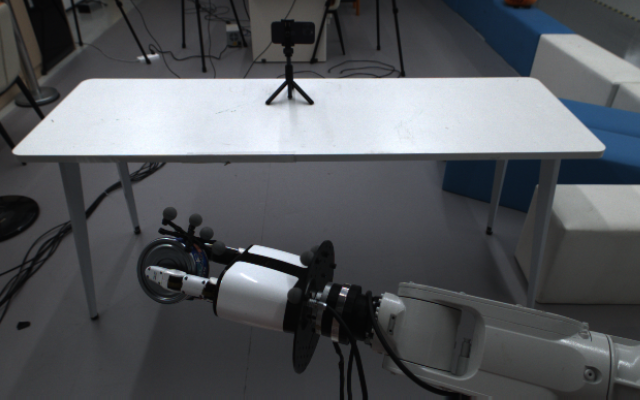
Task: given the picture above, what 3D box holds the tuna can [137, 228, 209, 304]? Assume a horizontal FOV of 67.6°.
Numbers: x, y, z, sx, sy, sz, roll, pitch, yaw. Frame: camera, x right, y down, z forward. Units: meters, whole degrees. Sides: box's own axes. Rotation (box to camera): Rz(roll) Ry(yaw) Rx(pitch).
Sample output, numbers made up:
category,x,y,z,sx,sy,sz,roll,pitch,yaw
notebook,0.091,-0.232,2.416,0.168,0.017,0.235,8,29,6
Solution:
category,x,y,z,sx,sy,sz,roll,pitch,yaw
tuna can,-0.185,0.088,0.615,0.085,0.085,0.034,12,4,15
